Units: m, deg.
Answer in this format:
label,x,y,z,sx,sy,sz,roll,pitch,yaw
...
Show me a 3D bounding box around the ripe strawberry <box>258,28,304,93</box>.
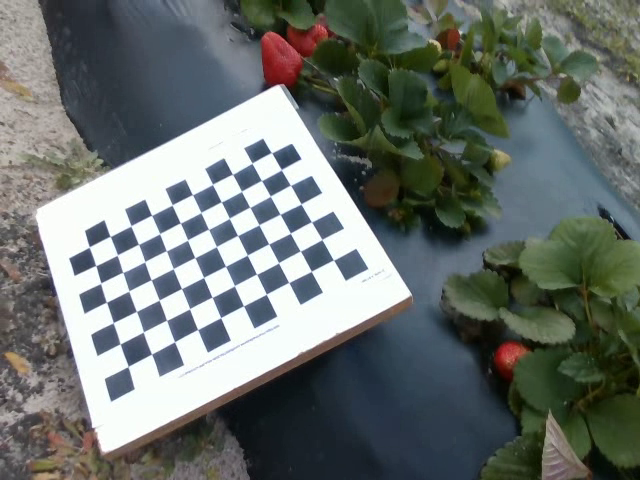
label,x,y,z,sx,sy,sz,roll,pitch,yaw
ripe strawberry,-0.044,-0.207,0.726,0.057,0.056,0.065,11,-25,35
